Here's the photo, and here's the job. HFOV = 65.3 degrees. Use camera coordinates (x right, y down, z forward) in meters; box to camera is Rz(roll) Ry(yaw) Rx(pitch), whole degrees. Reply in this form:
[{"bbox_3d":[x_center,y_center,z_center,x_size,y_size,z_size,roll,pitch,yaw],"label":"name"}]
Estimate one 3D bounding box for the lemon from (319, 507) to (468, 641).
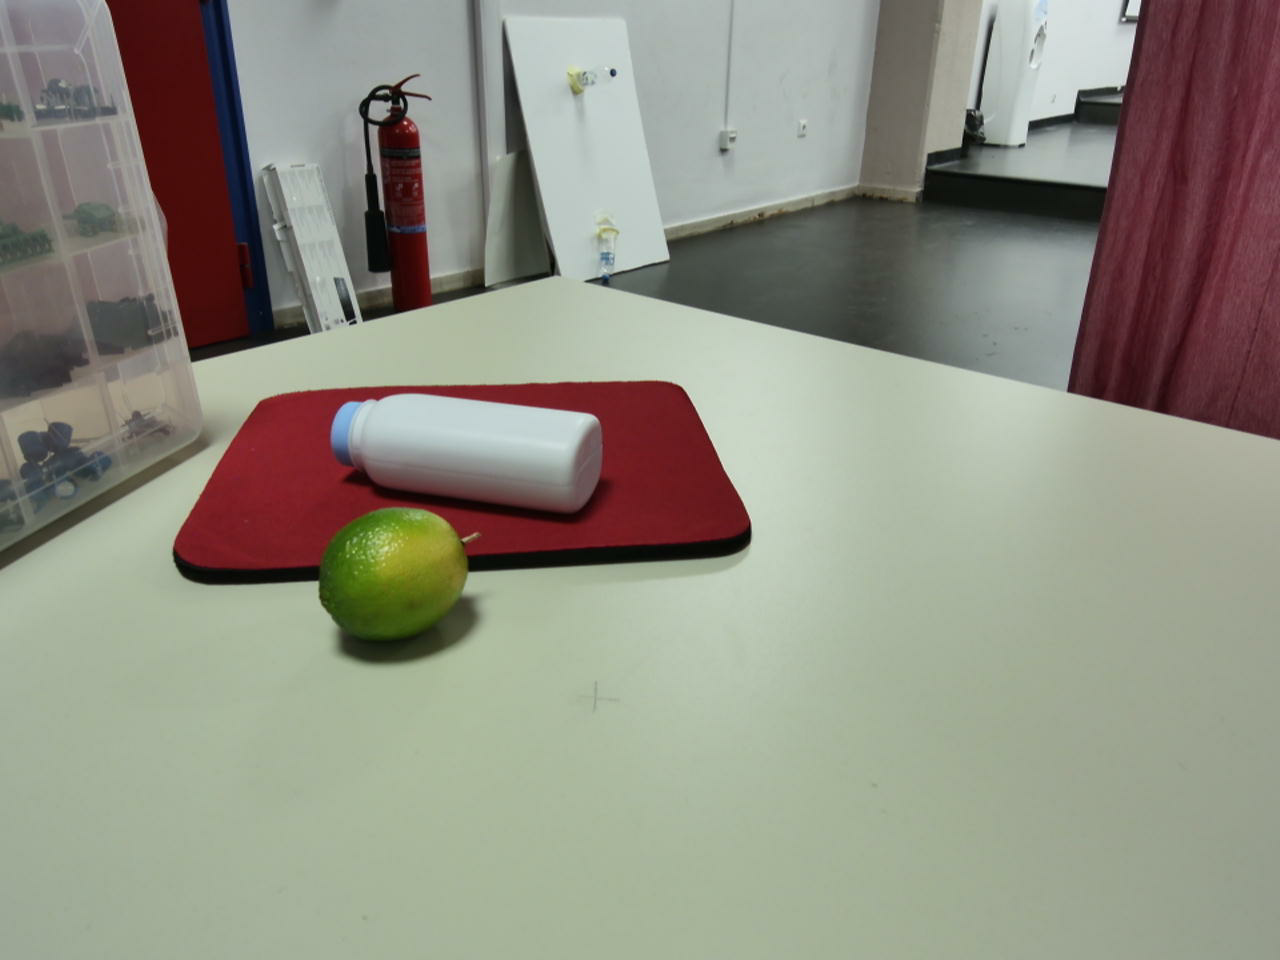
[{"bbox_3d":[-0.096,0.036,0.388,0.055,0.050,0.054,1,23,-1],"label":"lemon"}]
